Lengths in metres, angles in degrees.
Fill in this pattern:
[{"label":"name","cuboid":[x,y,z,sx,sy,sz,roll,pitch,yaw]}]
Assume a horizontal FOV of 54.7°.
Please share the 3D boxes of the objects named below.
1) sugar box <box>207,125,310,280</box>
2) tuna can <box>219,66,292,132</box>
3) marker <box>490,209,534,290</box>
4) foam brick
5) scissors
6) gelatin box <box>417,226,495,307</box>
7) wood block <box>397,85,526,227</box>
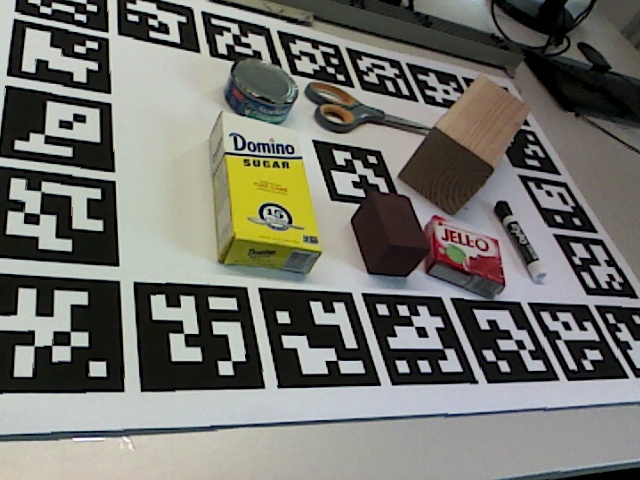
[{"label":"sugar box","cuboid":[-0.068,-0.043,0.656,0.092,0.045,0.177,10,49,-24]},{"label":"tuna can","cuboid":[-0.080,-0.175,0.766,0.085,0.034,0.086,15,48,-18]},{"label":"marker","cuboid":[0.248,0.009,0.804,0.019,0.020,0.121,7,52,-25]},{"label":"foam brick","cuboid":[0.071,0.005,0.682,0.052,0.051,0.078,7,51,-24]},{"label":"scissors","cuboid":[0.067,-0.160,0.854,0.202,0.016,0.088,10,49,-19]},{"label":"gelatin box","cuboid":[0.160,0.030,0.732,0.089,0.030,0.073,20,46,-13]},{"label":"wood block","cuboid":[0.198,-0.120,0.844,0.090,0.091,0.206,37,43,5]}]
